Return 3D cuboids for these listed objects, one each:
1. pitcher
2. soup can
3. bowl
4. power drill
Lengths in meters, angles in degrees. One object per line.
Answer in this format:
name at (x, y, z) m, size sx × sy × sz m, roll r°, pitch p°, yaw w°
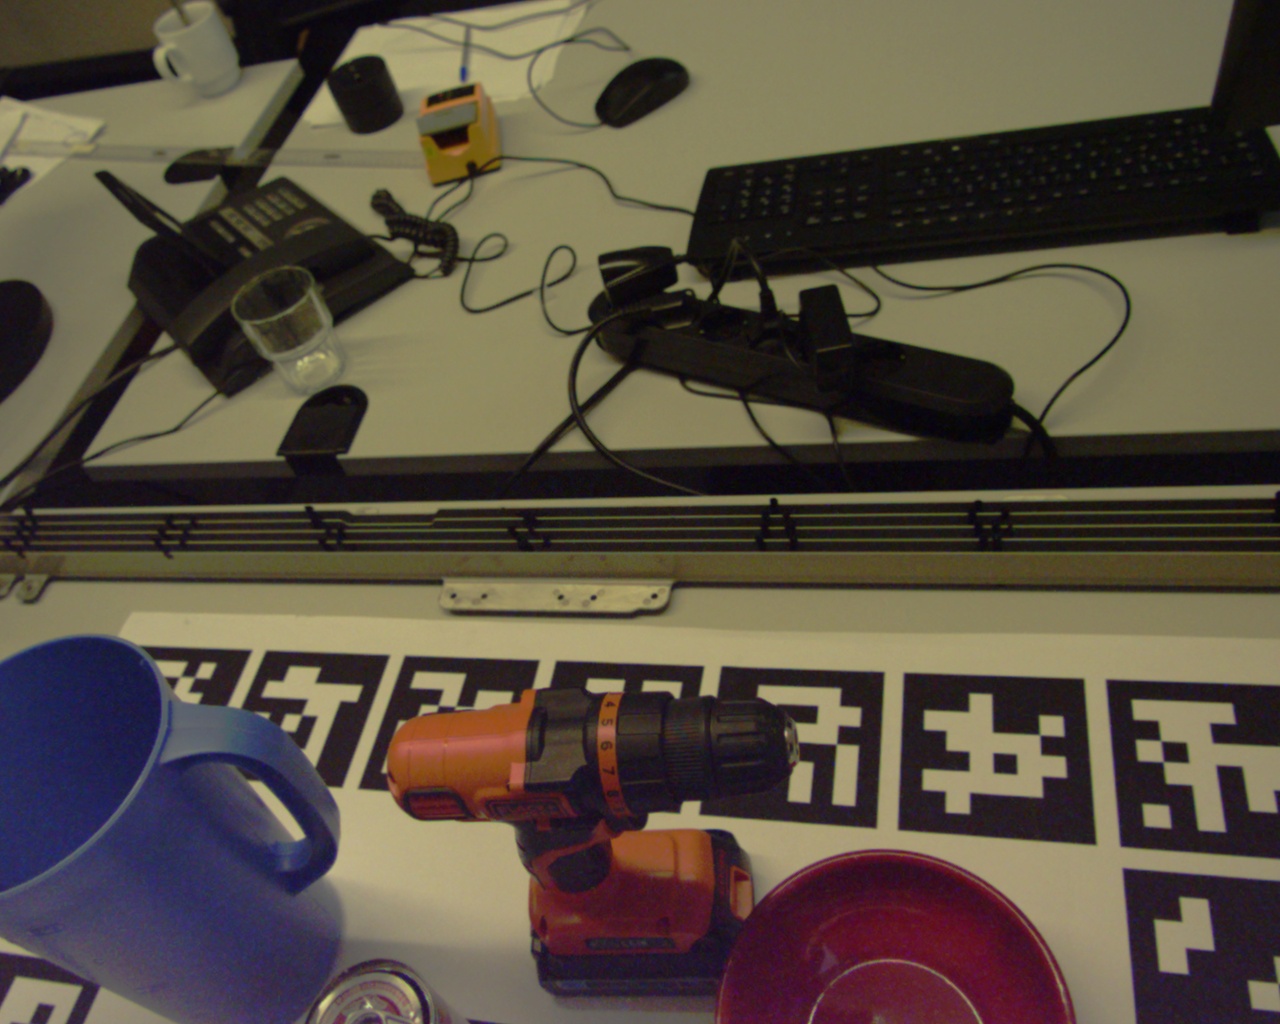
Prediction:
pitcher at (-0.244, 0.168, 0.610) m, size 0.189 × 0.240 × 0.134 m, roll -20°, pitch 44°, yaw 0°
soup can at (-0.121, 0.258, 0.587) m, size 0.068 × 0.101 × 0.068 m, roll -10°, pitch 39°, yaw 7°
bowl at (0.109, 0.234, 0.562) m, size 0.162 × 0.055 × 0.162 m, roll -10°, pitch 49°, yaw 11°
power drill at (-0.007, 0.139, 0.569) m, size 0.186 × 0.185 × 0.057 m, roll -5°, pitch 49°, yaw 13°
